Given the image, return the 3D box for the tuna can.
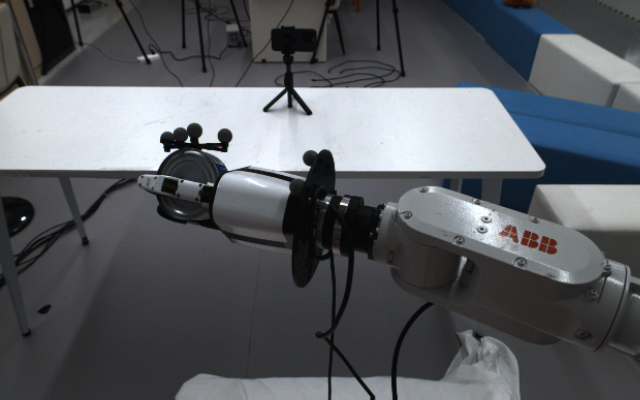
[{"bbox_3d":[-0.152,-0.017,0.585,0.085,0.085,0.034,15,0,18],"label":"tuna can"}]
